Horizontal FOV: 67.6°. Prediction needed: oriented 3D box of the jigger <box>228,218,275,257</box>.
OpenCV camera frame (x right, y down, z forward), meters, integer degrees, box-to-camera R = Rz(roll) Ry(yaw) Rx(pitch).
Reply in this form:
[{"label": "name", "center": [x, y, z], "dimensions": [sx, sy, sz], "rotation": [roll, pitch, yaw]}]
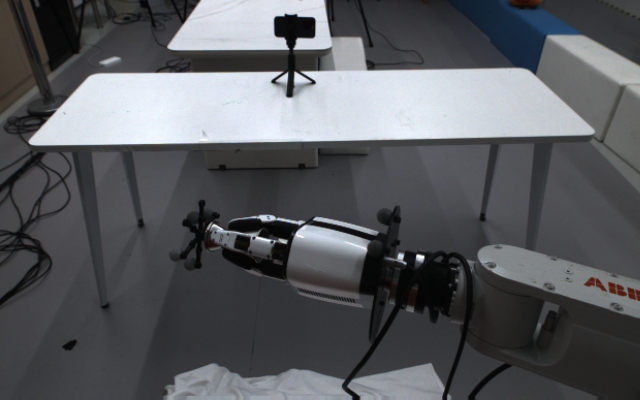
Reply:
[{"label": "jigger", "center": [-0.096, 0.046, 0.594], "dimensions": [0.071, 0.043, 0.043], "rotation": [8, 35, 15]}]
